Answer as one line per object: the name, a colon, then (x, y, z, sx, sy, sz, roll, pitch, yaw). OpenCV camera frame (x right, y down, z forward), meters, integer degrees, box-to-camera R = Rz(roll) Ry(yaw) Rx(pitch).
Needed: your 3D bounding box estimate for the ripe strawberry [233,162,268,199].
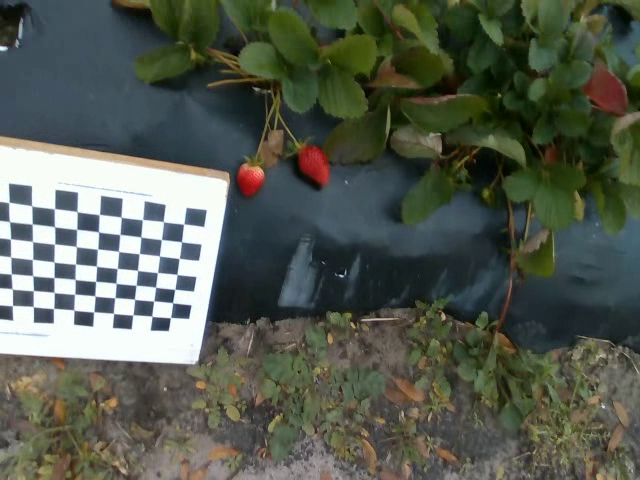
ripe strawberry: (-0.073, -0.073, 0.946, 0.036, 0.041, 0.027, 11, 8, -11)

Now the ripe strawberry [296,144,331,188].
ripe strawberry: (0.001, -0.093, 0.970, 0.044, 0.059, 0.042, -29, 11, 14)
